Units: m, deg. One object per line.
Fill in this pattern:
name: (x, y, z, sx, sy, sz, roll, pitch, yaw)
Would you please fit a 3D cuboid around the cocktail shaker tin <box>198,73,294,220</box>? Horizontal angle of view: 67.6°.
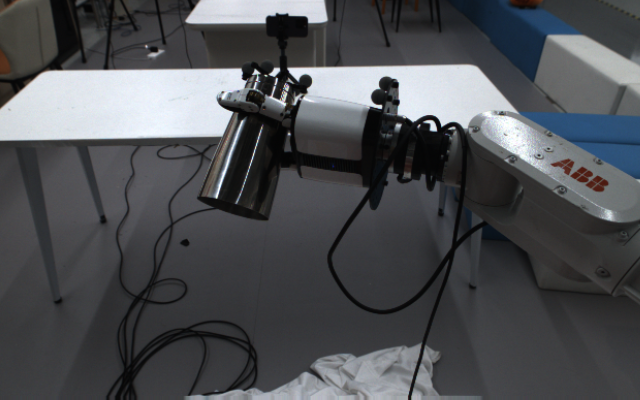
cocktail shaker tin: (-0.083, -0.071, 0.616, 0.093, 0.093, 0.170, 13, 77, 15)
